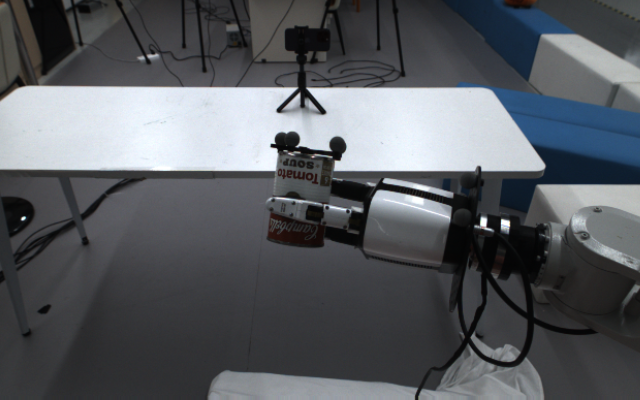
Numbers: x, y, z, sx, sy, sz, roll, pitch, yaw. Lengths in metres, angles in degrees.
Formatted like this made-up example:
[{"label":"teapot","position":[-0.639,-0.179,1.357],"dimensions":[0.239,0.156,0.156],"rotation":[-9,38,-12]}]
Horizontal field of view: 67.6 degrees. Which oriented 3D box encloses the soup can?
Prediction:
[{"label":"soup can","position":[-0.020,-0.002,0.559],"dimensions":[0.067,0.101,0.067],"rotation":[7,4,0]}]
